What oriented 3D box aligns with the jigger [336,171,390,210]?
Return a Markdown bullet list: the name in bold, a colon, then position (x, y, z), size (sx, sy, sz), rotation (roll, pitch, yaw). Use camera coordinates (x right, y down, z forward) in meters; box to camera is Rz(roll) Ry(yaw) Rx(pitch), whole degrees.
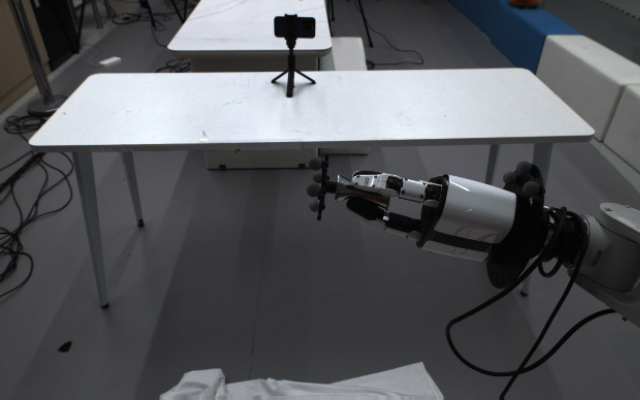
- **jigger**: position (0.062, -0.016, 0.622), size (0.071, 0.043, 0.043), rotation (5, 35, 3)
